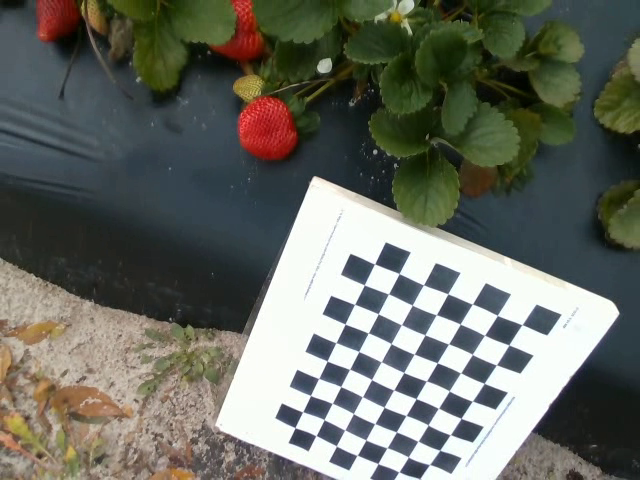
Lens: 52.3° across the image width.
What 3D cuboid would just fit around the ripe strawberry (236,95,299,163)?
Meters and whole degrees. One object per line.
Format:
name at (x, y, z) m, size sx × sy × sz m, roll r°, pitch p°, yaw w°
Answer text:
ripe strawberry at (-0.051, -0.091, 0.556) m, size 0.057 × 0.056 × 0.065 m, roll -6°, pitch 26°, yaw 32°

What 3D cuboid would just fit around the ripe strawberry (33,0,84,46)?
ripe strawberry at (-0.226, -0.185, 0.557) m, size 0.043 × 0.052 × 0.041 m, roll 8°, pitch -19°, yaw 12°
